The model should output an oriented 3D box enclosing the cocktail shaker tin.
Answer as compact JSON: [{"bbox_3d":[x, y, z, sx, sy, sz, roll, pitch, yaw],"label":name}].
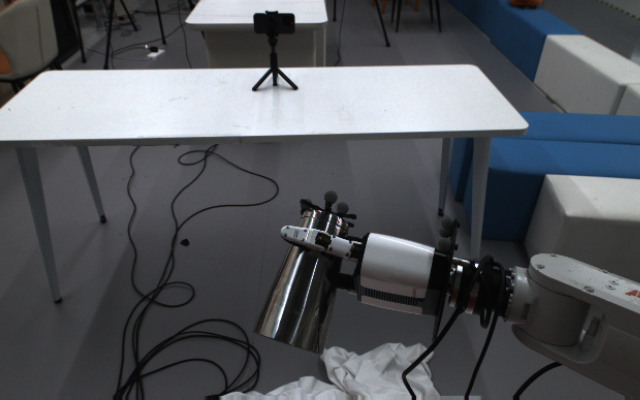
[{"bbox_3d":[-0.016,0.100,0.632,0.093,0.093,0.170,13,71,16],"label":"cocktail shaker tin"}]
